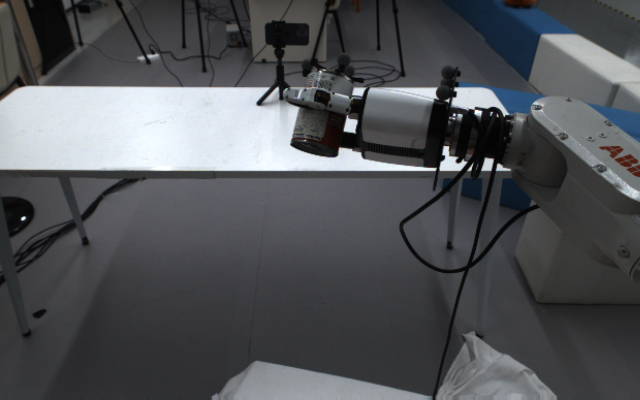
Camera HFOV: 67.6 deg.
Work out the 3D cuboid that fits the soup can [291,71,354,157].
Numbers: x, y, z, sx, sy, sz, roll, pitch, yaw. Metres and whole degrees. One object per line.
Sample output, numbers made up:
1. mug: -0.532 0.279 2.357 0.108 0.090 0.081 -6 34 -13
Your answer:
1. soup can: 0.004 -0.116 0.657 0.067 0.101 0.067 13 -6 1
